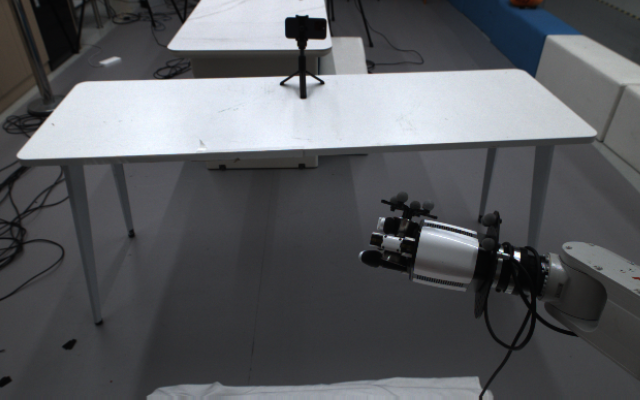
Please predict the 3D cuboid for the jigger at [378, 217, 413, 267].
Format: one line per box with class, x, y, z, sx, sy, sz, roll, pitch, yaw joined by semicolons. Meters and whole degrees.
jigger;0.122;0.062;0.734;0.043;0.071;0.043;19;-6;2
